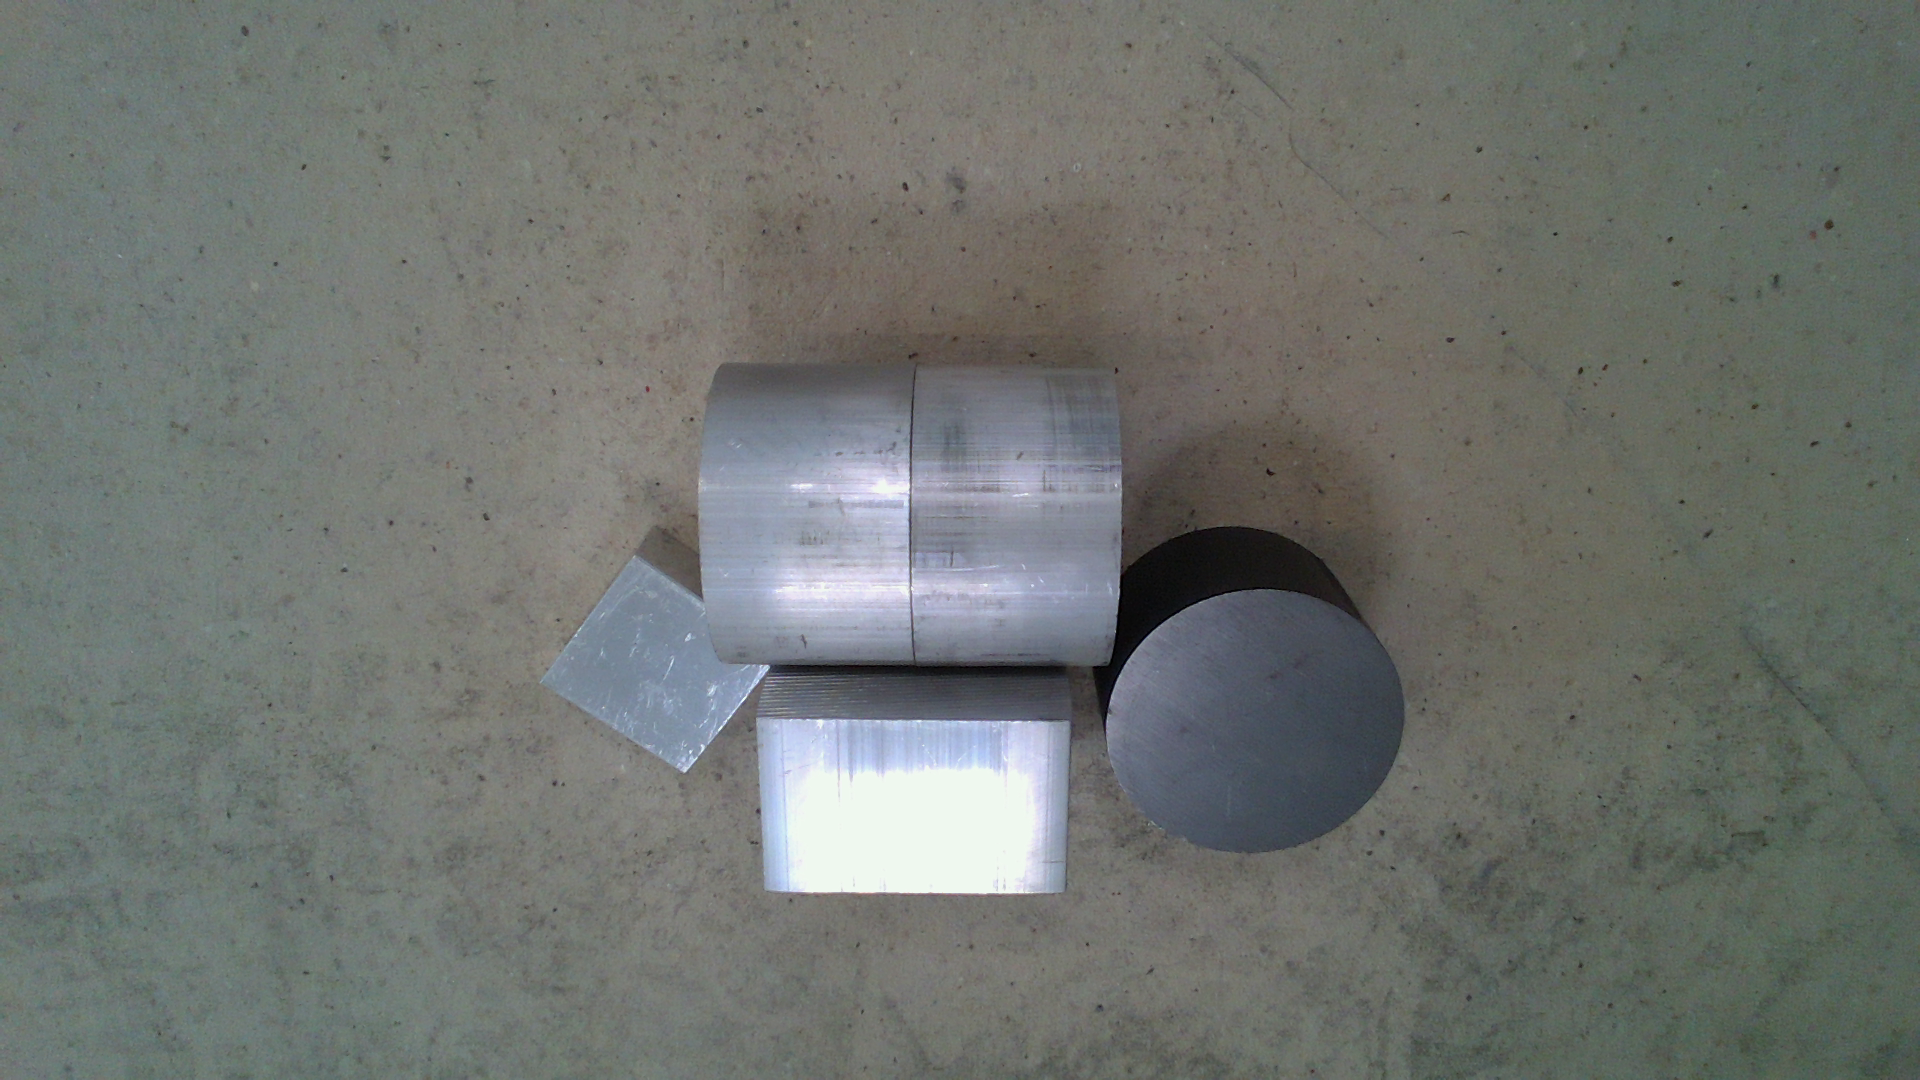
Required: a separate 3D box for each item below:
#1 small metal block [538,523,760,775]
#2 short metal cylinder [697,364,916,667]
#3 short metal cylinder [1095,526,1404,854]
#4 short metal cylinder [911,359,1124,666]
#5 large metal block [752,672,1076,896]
[{"bbox_3d":[-0.086,0.032,0.406,0.050,0.025,0.050,36,106,-12],"label":"small metal block"},{"bbox_3d":[-0.037,-0.006,0.363,0.050,0.080,0.080,1,110,0],"label":"short metal cylinder"},{"bbox_3d":[0.080,0.042,0.396,0.080,0.050,0.080,0,110,0],"label":"short metal cylinder"},{"bbox_3d":[0.013,-0.007,0.363,0.050,0.080,0.080,1,110,0],"label":"short metal cylinder"},{"bbox_3d":[-0.012,0.055,0.386,0.080,0.080,0.050,1,110,0],"label":"large metal block"}]
